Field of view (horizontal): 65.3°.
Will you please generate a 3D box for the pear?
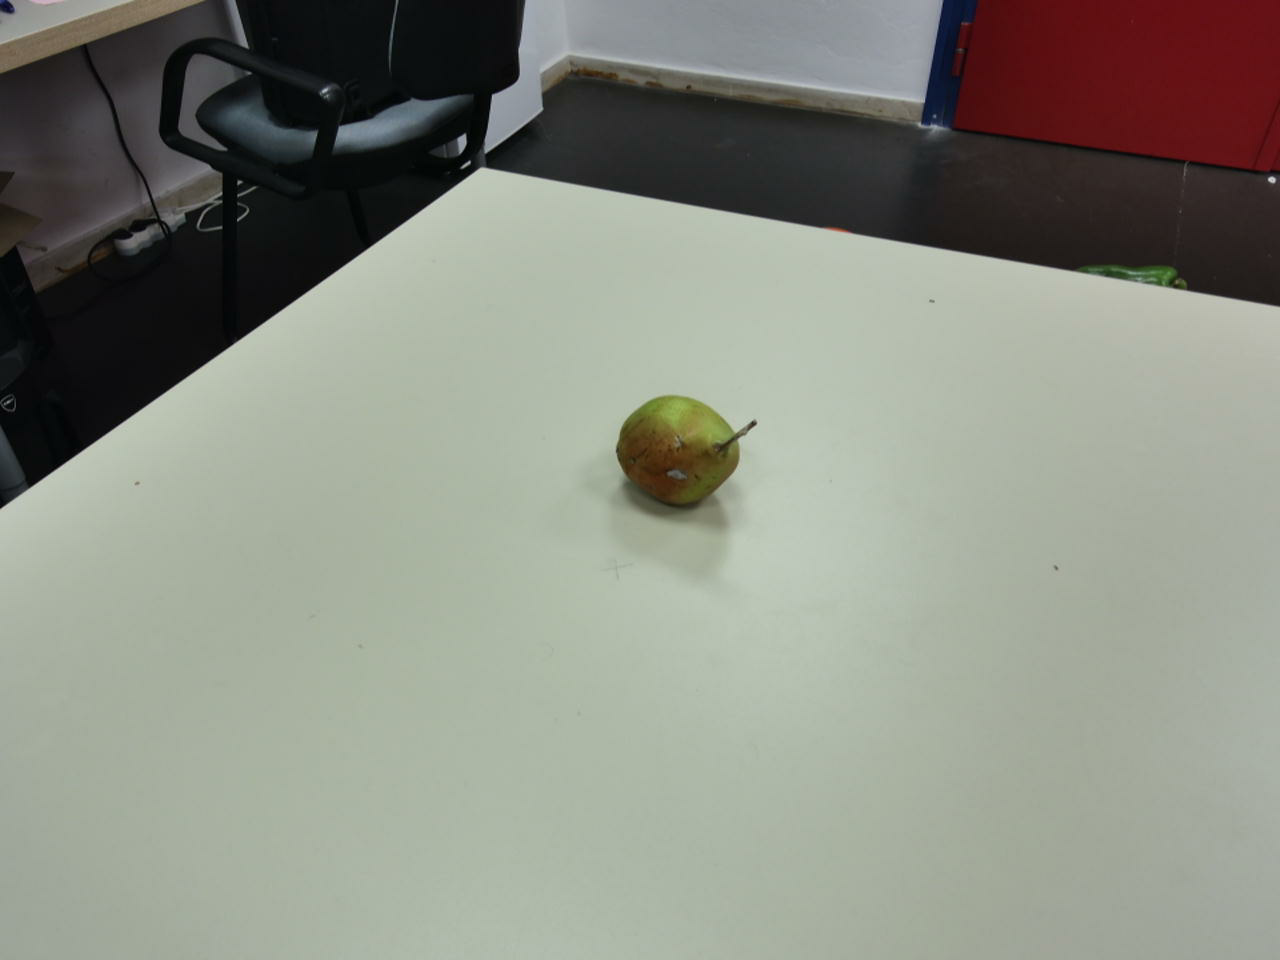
[{"bbox_3d":[0.021,-0.019,0.580,0.068,0.069,0.070,-8,39,-11],"label":"pear"}]
